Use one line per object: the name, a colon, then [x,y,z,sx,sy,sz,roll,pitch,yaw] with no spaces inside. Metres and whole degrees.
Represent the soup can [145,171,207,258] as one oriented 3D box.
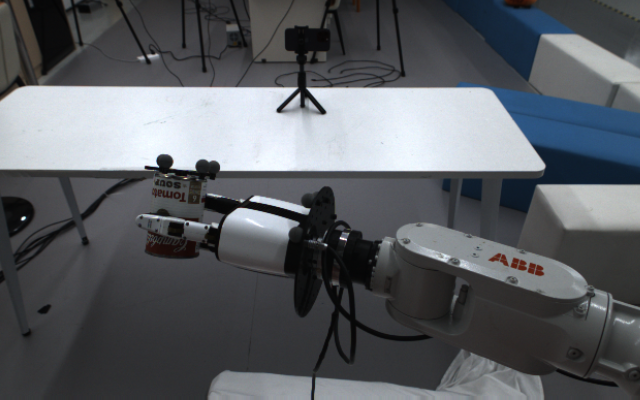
soup can: [-0.183,0.020,0.620,0.067,0.101,0.067,7,3,0]
